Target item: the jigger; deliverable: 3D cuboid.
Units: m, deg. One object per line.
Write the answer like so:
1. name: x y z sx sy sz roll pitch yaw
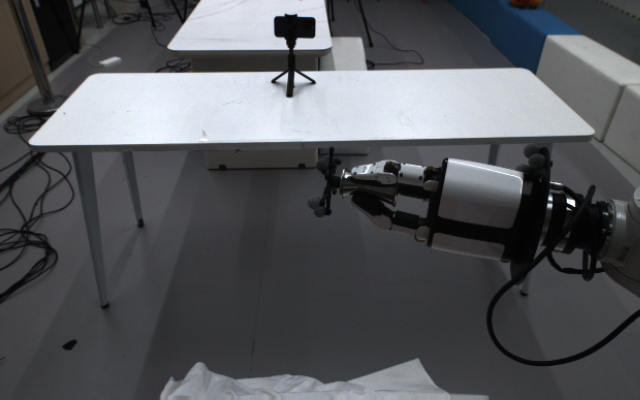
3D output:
1. jigger: 0.068 -0.021 0.600 0.071 0.043 0.043 7 35 12
